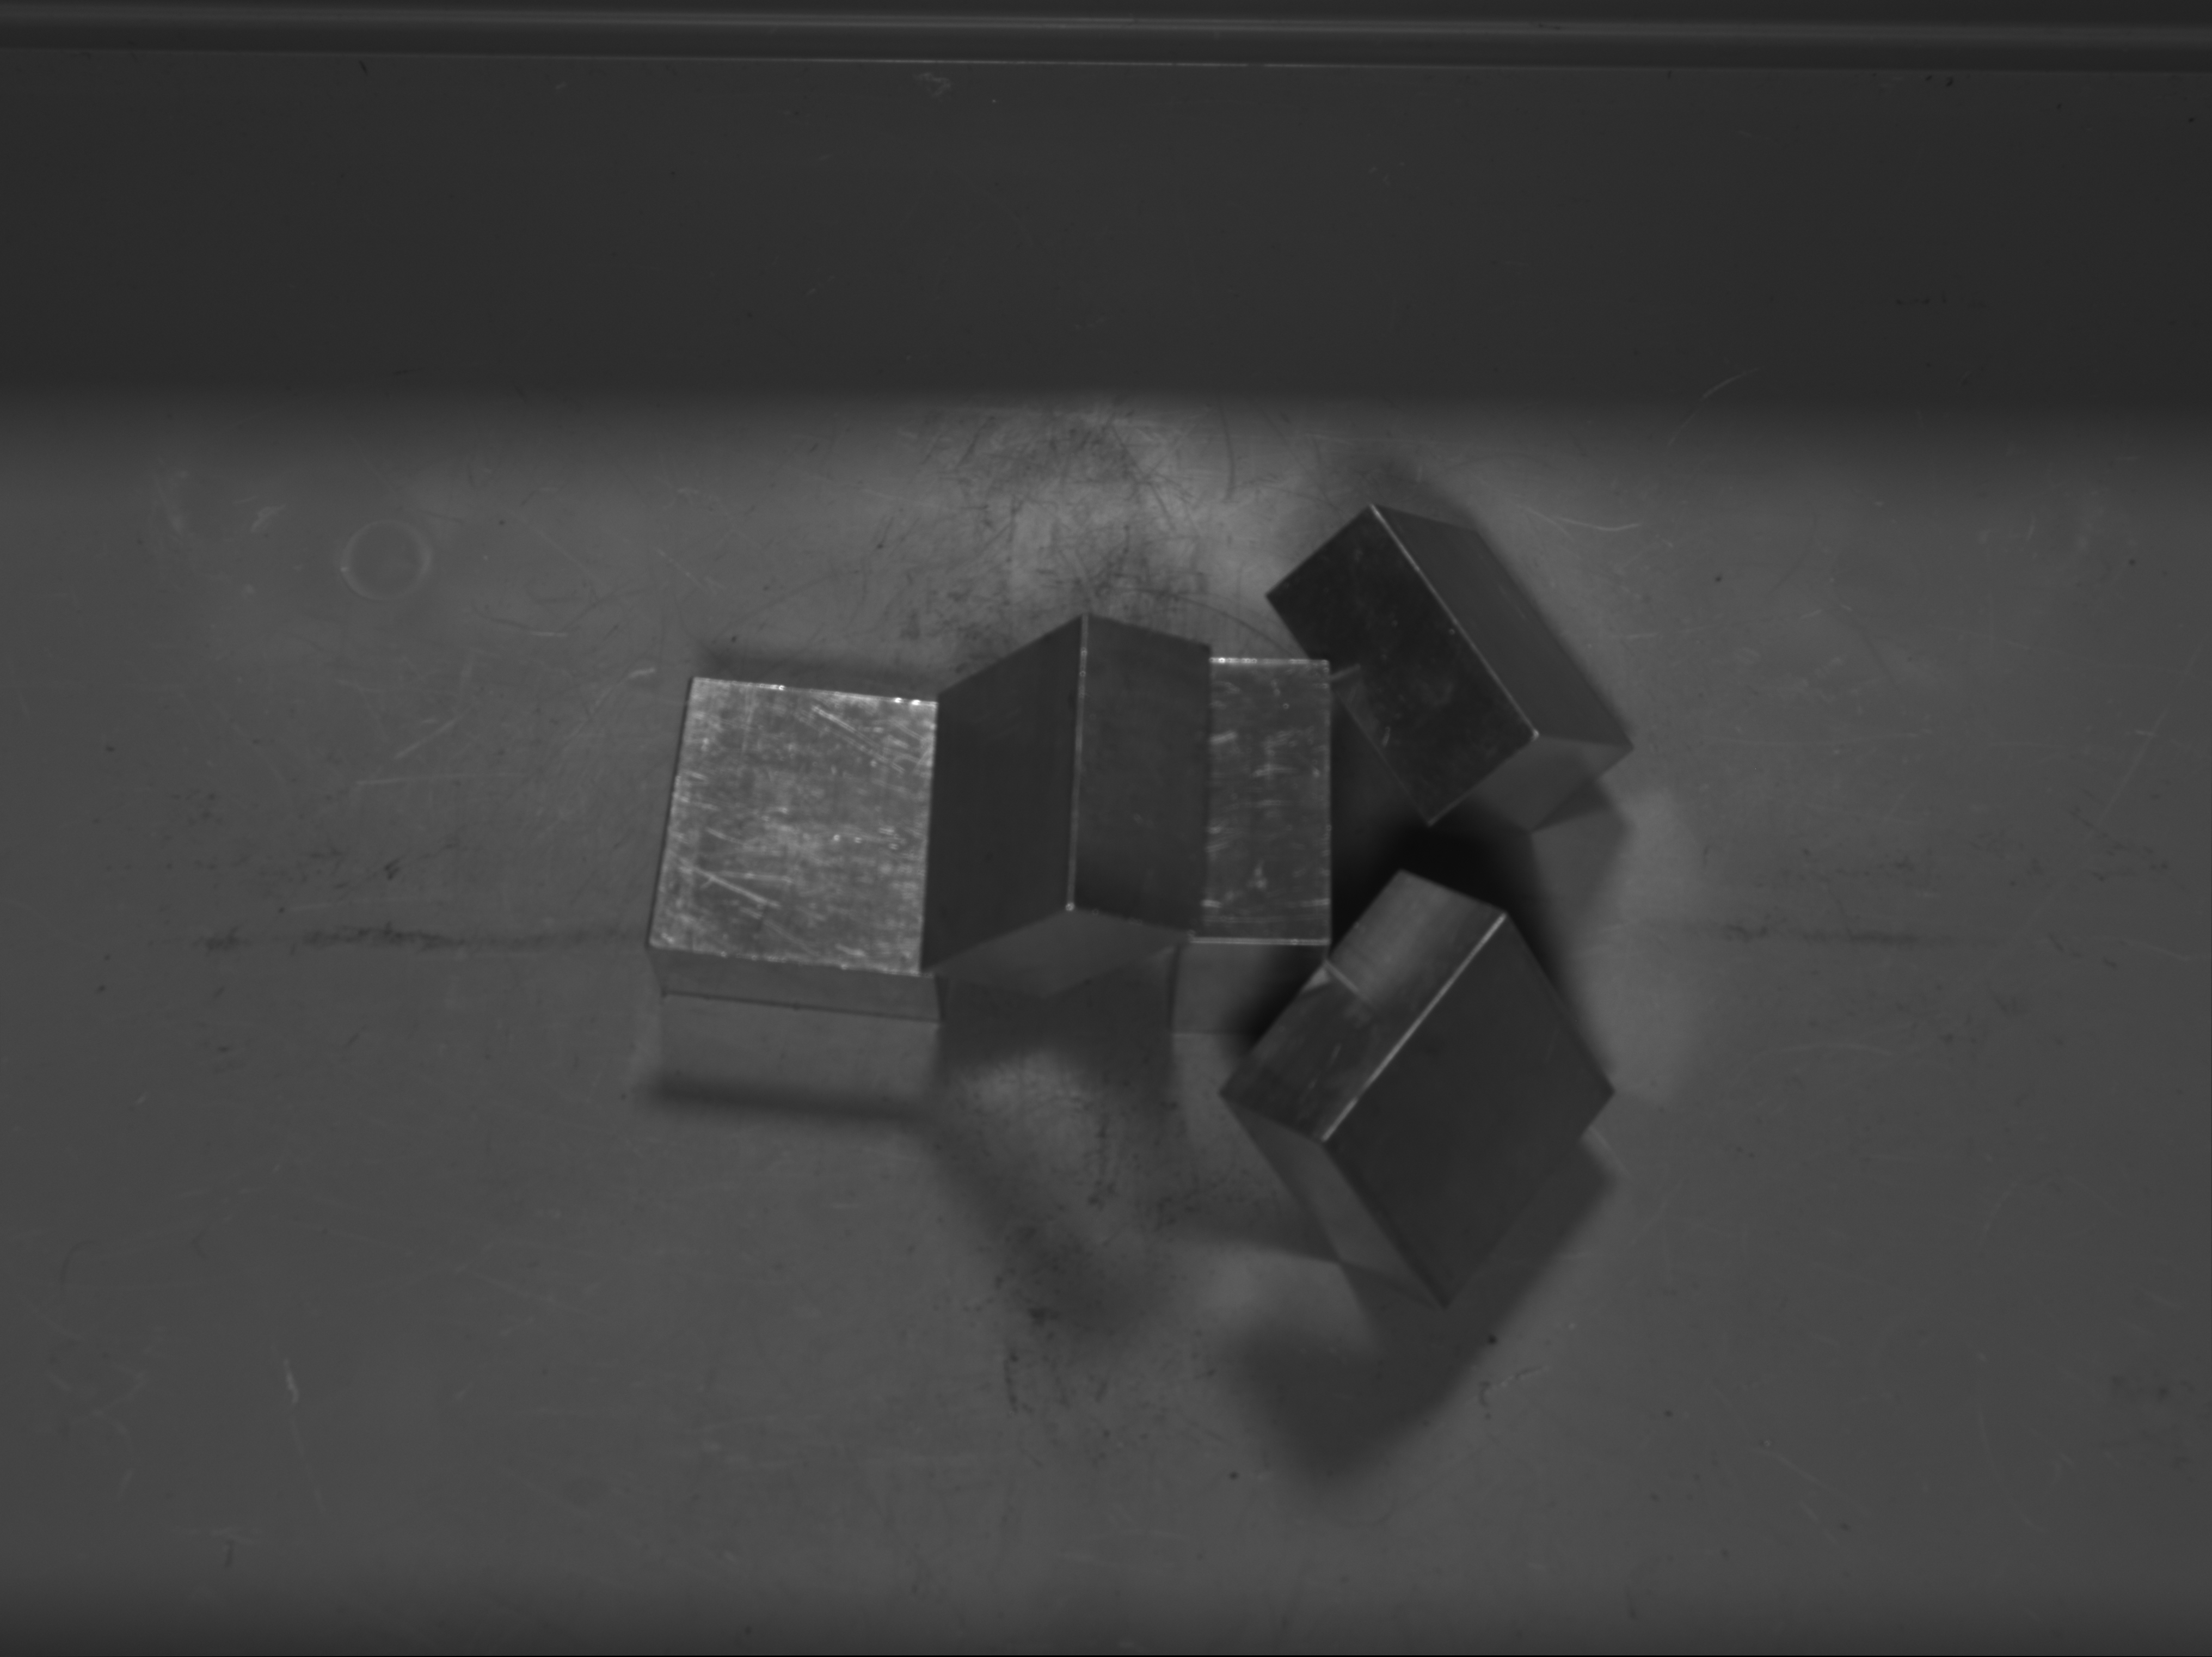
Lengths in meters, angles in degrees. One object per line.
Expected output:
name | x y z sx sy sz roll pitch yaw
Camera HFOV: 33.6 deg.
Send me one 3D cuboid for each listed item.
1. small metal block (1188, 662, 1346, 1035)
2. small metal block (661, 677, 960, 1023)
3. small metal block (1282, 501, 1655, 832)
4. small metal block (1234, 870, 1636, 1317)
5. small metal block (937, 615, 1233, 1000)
small metal block | 0.027 0.004 0.629 0.025 0.050 0.050 1 70 1
small metal block | -0.048 0.004 0.641 0.050 0.025 0.050 6 70 2
small metal block | 0.064 -0.027 0.638 0.025 0.050 0.050 -40 72 20
small metal block | 0.056 0.044 0.611 0.025 0.050 0.050 23 66 46
small metal block | -0.004 -0.002 0.612 0.025 0.050 0.050 13 70 -29
